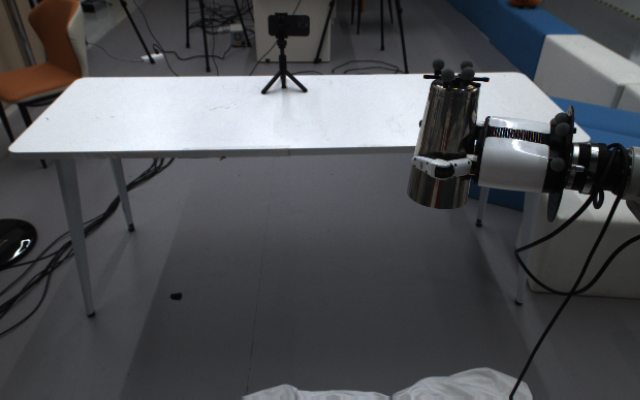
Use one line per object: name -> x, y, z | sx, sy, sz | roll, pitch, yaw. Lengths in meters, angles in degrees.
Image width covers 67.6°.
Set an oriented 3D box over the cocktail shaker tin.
cocktail shaker tin -> 0.184, -0.085, 0.702 | 0.093, 0.170, 0.093 | 2, 28, -1
